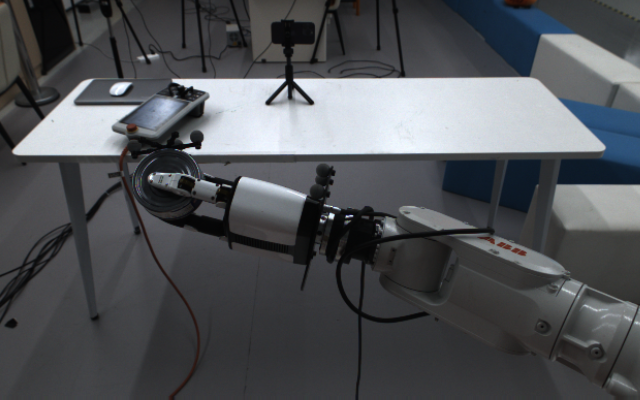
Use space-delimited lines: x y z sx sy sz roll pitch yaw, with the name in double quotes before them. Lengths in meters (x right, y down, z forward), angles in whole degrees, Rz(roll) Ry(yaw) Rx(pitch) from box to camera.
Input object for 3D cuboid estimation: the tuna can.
"tuna can" -0.184 -0.015 0.601 0.085 0.034 0.085 0 72 -2
